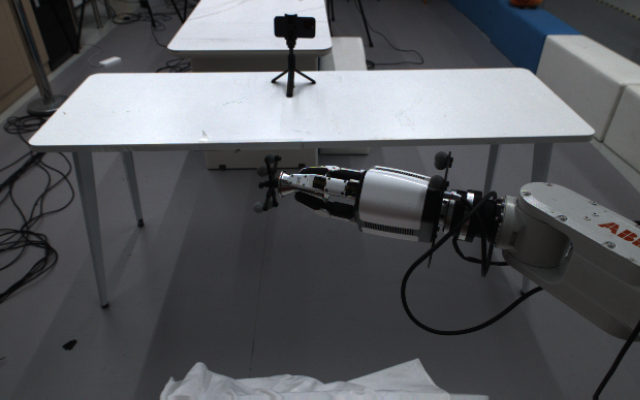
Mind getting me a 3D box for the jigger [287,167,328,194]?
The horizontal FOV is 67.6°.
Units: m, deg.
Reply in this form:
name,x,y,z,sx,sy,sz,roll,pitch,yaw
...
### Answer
name,x,y,z,sx,sy,sz,roll,pitch,yaw
jigger,-0.016,-0.024,0.696,0.071,0.043,0.043,5,34,14
